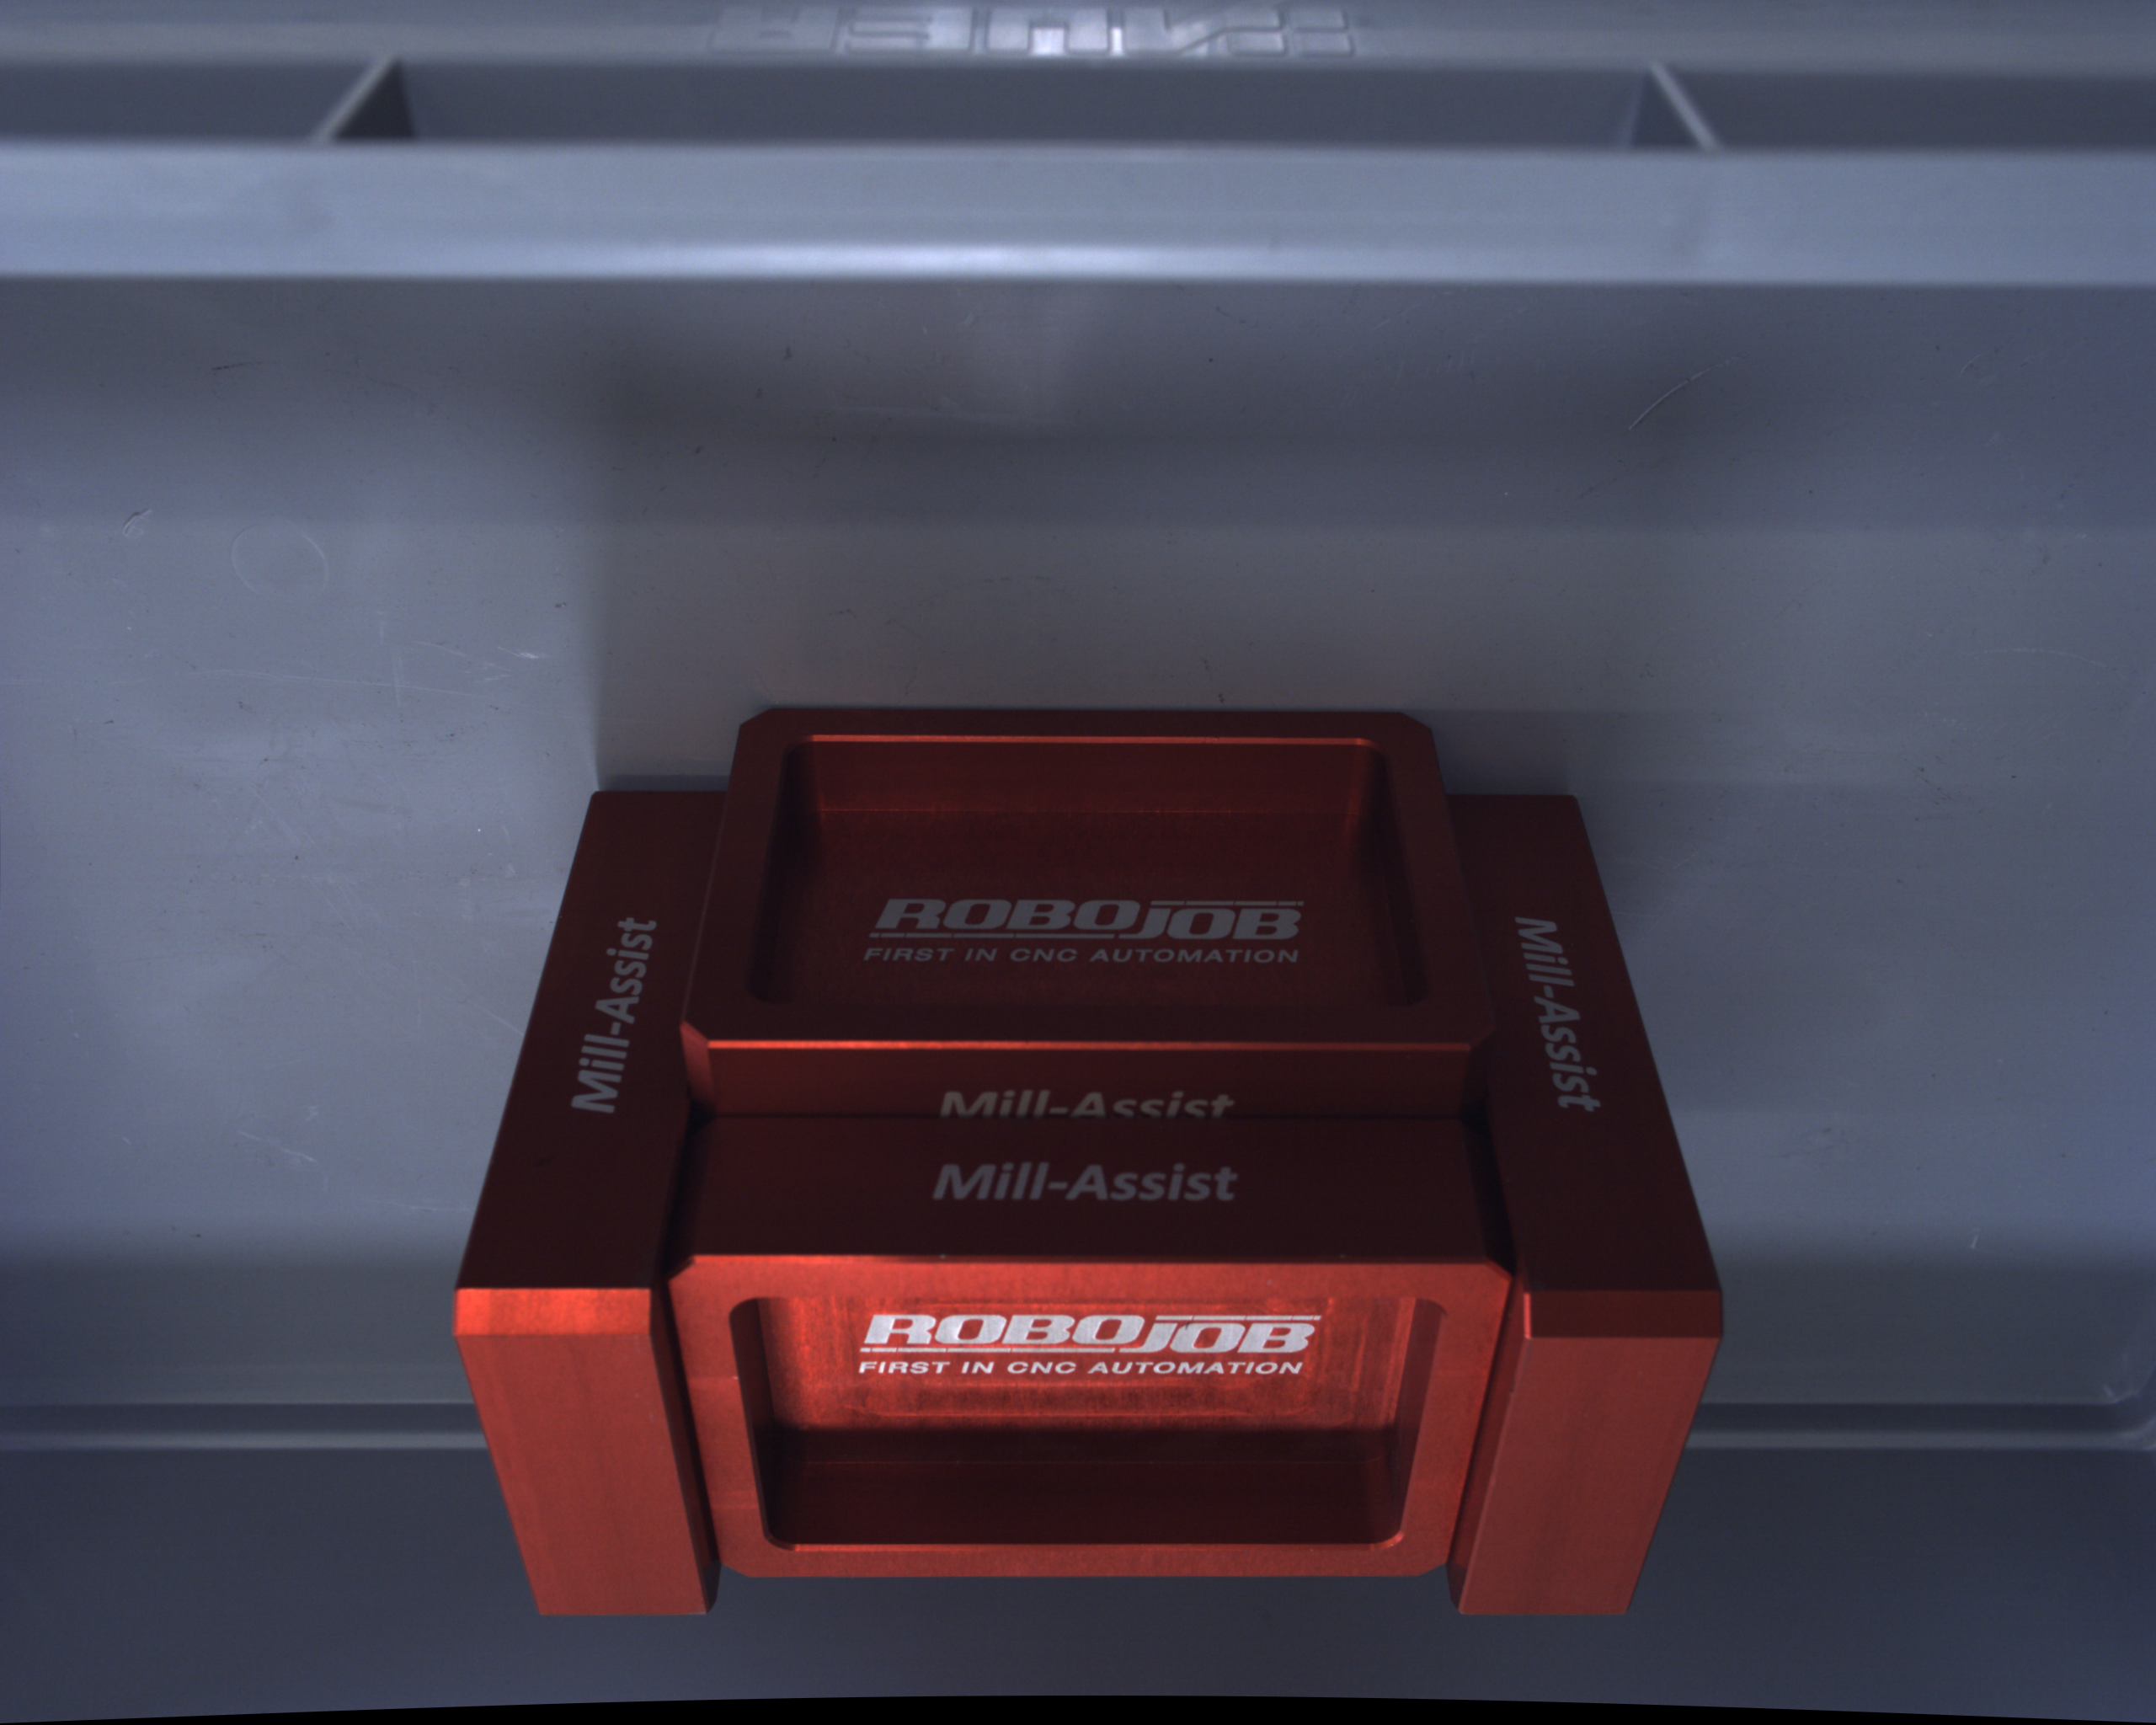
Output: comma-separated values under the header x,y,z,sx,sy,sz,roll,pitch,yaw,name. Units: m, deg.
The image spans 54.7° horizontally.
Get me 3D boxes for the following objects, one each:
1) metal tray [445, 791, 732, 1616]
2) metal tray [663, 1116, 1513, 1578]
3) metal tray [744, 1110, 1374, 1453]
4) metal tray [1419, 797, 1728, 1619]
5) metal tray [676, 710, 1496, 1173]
x,y,z,sx,sy,sz,roll,pitch,yaw,name
-0.080,0.059,0.387,0.030,0.130,0.089,0,131,0,metal tray
0.001,0.085,0.357,0.131,0.030,0.089,0,130,-1,metal tray
0.001,0.079,0.430,0.131,0.090,0.030,0,130,-1,metal tray
0.083,0.060,0.389,0.030,0.130,0.089,1,131,-1,metal tray
0.002,0.012,0.372,0.131,0.090,0.030,1,131,0,metal tray
